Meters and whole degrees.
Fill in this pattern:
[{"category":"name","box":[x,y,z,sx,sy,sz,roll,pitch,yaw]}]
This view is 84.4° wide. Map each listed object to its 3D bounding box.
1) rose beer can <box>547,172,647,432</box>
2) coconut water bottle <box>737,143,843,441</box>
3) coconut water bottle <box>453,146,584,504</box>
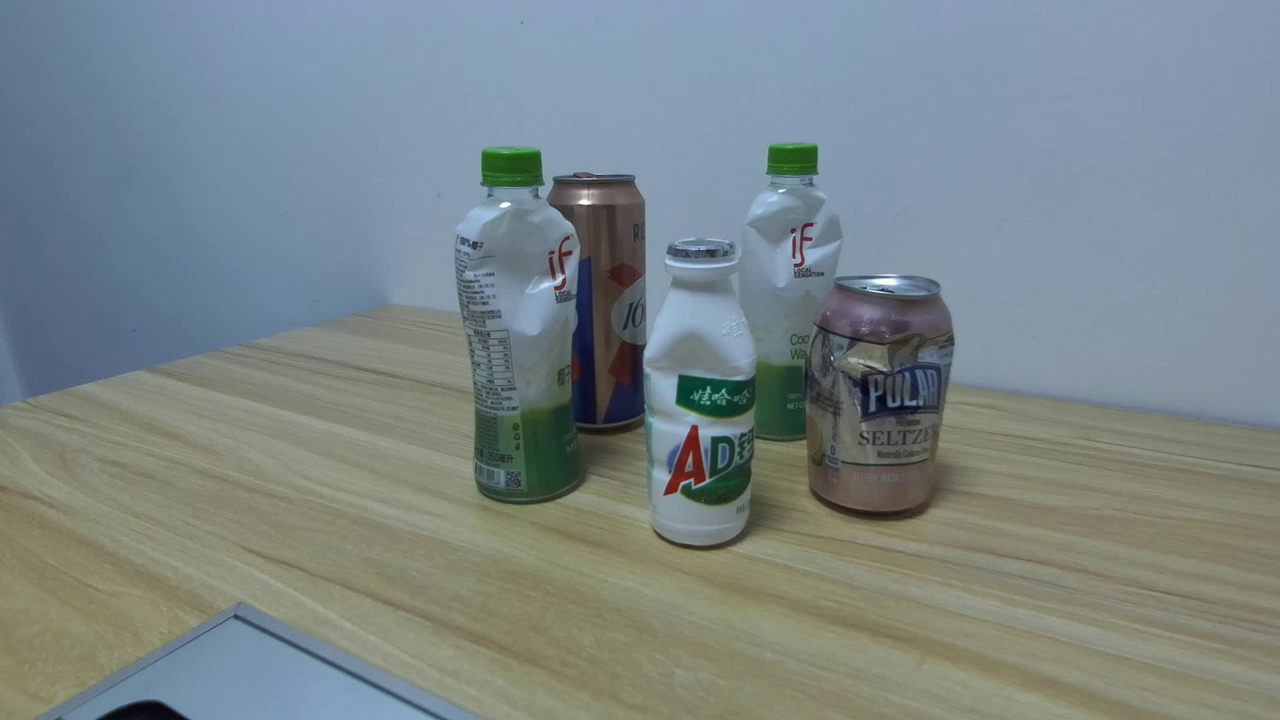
[{"category":"rose beer can","box":[-0.027,-0.037,0.491,0.068,0.169,0.068,0,12,0]},{"category":"coconut water bottle","box":[0.094,-0.043,0.465,0.067,0.187,0.067,1,14,0]},{"category":"coconut water bottle","box":[-0.066,-0.020,0.396,0.069,0.187,0.069,1,15,0]}]
